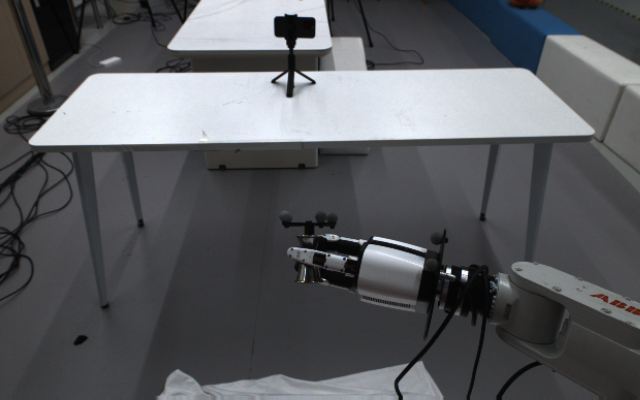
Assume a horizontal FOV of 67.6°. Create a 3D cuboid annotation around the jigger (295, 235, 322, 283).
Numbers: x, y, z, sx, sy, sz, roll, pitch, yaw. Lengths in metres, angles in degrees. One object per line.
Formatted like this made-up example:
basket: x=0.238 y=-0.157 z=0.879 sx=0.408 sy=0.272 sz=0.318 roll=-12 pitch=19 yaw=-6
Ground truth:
jigger: x=-0.017 y=0.086 z=0.713 sx=0.043 sy=0.071 sz=0.043 roll=1 pitch=-5 yaw=0
